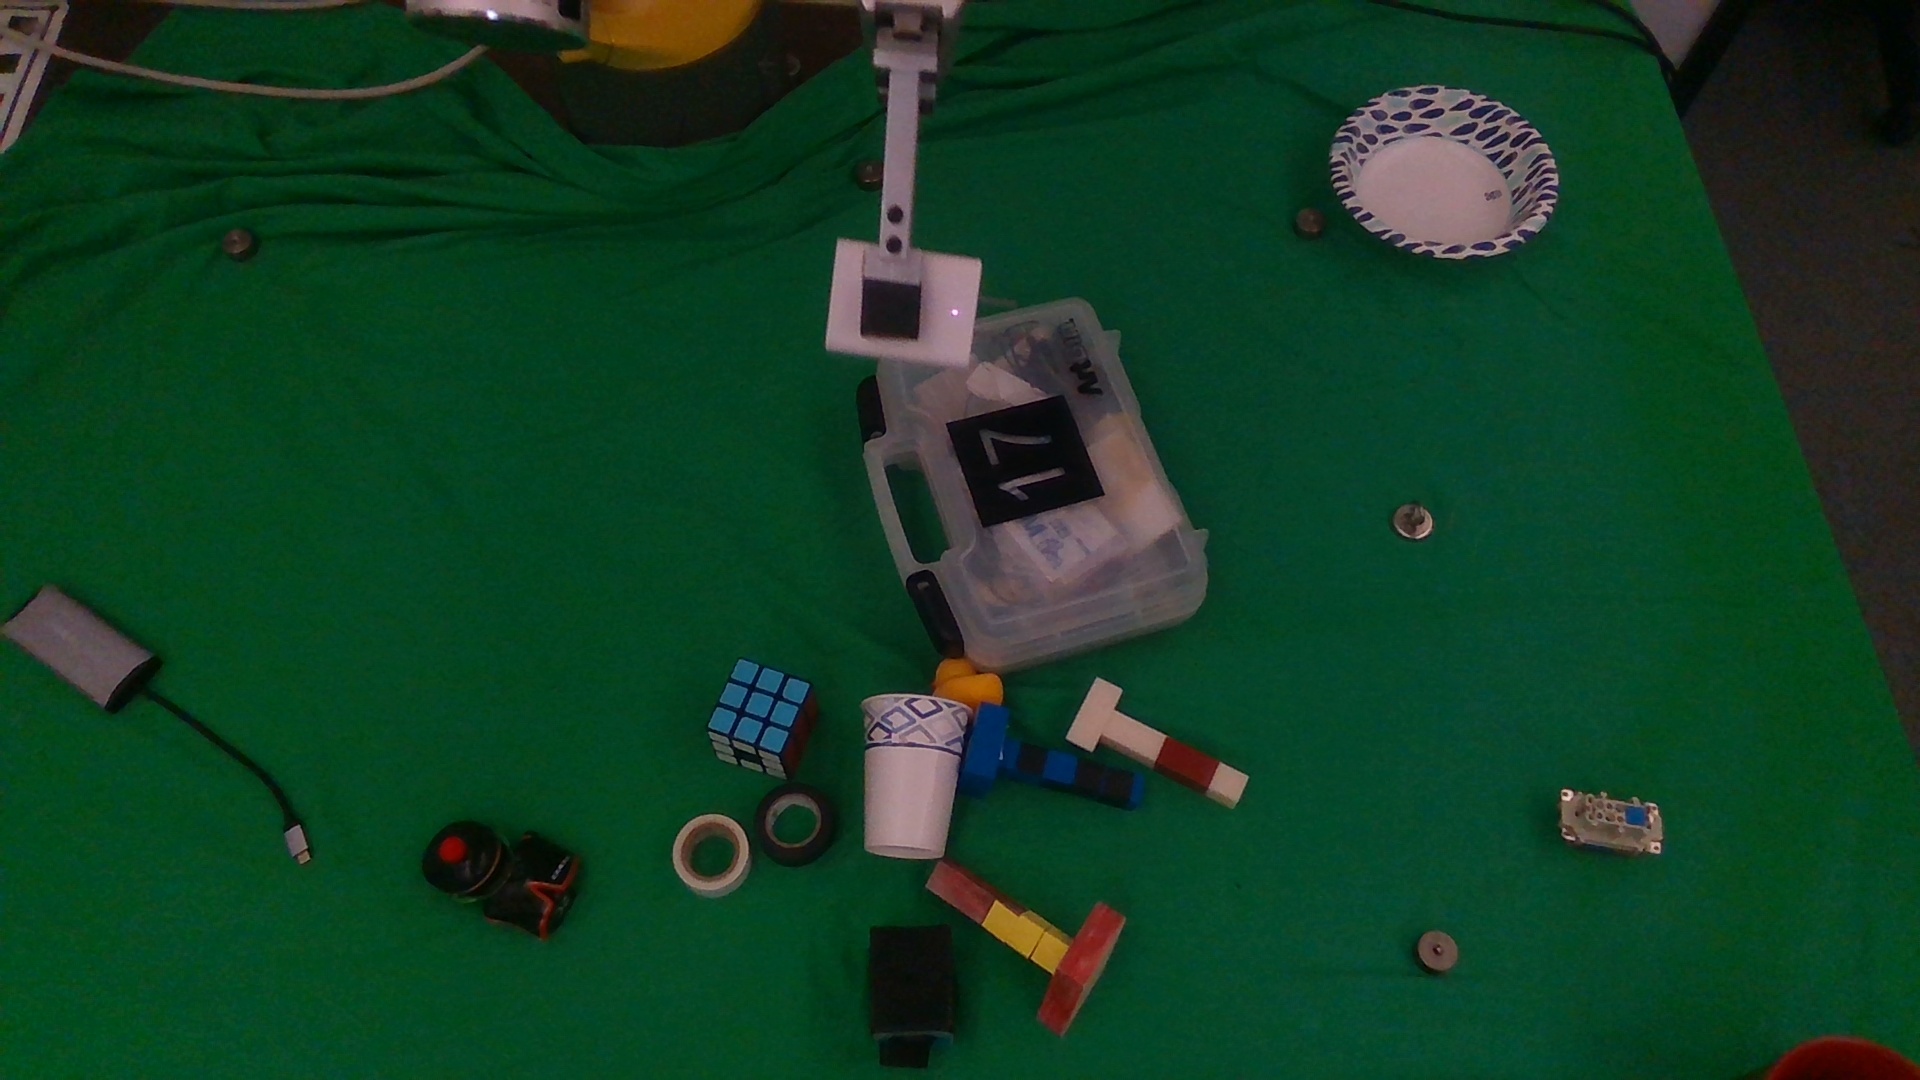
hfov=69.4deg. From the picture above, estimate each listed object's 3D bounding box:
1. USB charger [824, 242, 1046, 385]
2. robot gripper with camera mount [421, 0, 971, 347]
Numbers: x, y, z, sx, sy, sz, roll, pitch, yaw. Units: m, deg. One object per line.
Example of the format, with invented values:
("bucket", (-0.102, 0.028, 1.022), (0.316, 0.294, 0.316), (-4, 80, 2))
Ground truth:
("USB charger", (-0.008, -0.079, 0.495), (0.075, 0.029, 0.044), (8, 100, -1))
("robot gripper with camera mount", (-0.095, -0.148, 0.490), (0.193, 0.119, 0.158), (0, 100, 3))
